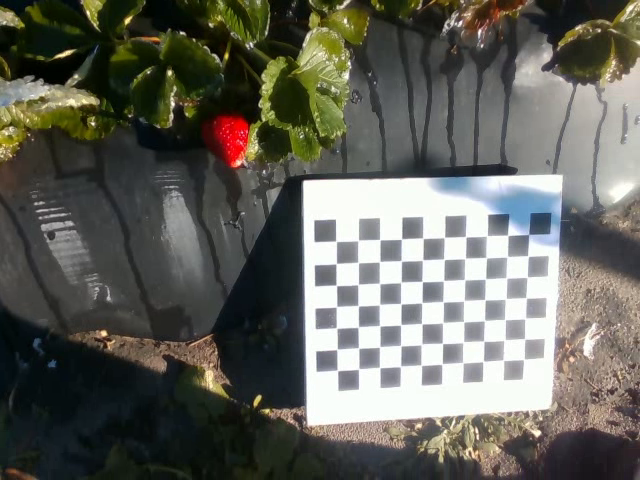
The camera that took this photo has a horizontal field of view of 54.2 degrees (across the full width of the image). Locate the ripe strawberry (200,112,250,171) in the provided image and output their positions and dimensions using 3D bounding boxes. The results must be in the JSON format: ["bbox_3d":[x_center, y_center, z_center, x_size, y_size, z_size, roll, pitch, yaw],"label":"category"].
[{"bbox_3d":[-0.071,-0.077,0.489,0.041,0.053,0.047,-8,-28,-7],"label":"ripe strawberry"}]
